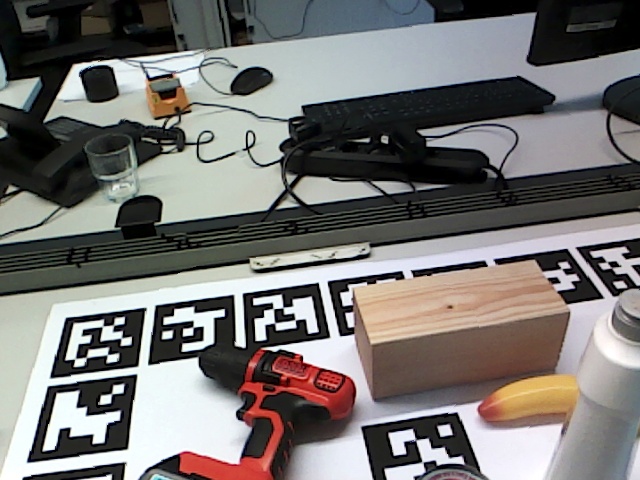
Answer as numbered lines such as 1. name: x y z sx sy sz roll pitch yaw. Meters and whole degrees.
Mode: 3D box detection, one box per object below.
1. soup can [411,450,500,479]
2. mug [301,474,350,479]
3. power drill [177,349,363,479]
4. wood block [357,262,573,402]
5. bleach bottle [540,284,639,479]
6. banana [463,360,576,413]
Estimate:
1. soup can: 0.103 0.225 0.482 0.068 0.102 0.068 -3 31 1
2. mug: -0.002 0.255 0.480 0.094 0.081 0.117 21 46 29
3. power drill: -0.068 0.192 0.606 0.185 0.057 0.187 12 38 17
4. wood block: 0.151 0.098 0.676 0.206 0.090 0.090 -9 37 -5
5. bleach bottle: 0.218 0.135 0.476 0.068 0.250 0.102 9 37 20
6. banana: 0.245 0.155 0.622 0.198 0.039 0.074 3 50 8
